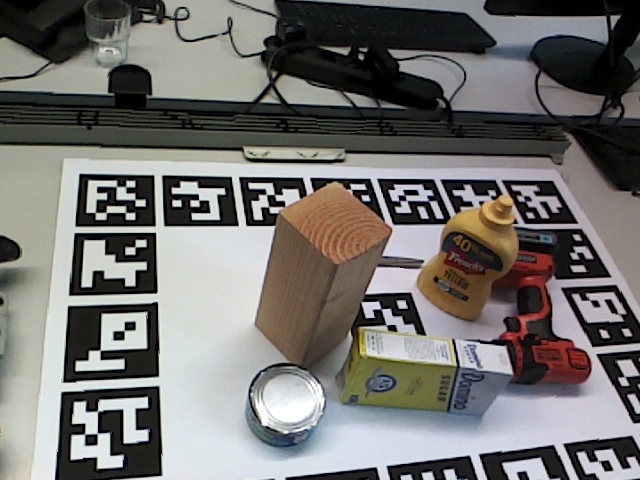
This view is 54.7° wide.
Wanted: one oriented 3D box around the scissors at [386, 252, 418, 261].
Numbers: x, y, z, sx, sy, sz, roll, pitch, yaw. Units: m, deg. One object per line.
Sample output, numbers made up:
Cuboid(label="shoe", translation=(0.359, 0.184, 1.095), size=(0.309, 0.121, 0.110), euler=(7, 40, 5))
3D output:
Cuboid(label="scissors", translation=(0.043, 0.025, 0.857), size=(0.202, 0.016, 0.088), euler=(1, 46, -13))

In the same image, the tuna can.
Cuboid(label="tuna can", translation=(-0.036, 0.177, 0.687), size=(0.085, 0.034, 0.086), euler=(8, 49, -9))

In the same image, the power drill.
Cuboid(label="power drill", translation=(0.246, 0.097, 0.819), size=(0.184, 0.057, 0.187), euler=(10, 55, -6))

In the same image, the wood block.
Cuboid(label="wood block", translation=(-0.001, 0.047, 0.712), size=(0.090, 0.206, 0.090), euler=(-26, 62, -32))

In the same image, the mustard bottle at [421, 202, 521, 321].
Cuboid(label="mustard bottle", translation=(0.203, 0.021, 0.796), size=(0.096, 0.191, 0.058), euler=(38, 52, 17))

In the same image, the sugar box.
Cuboid(label="sugar box", translation=(0.127, 0.154, 0.716), size=(0.176, 0.093, 0.045), euler=(10, 45, -8))
